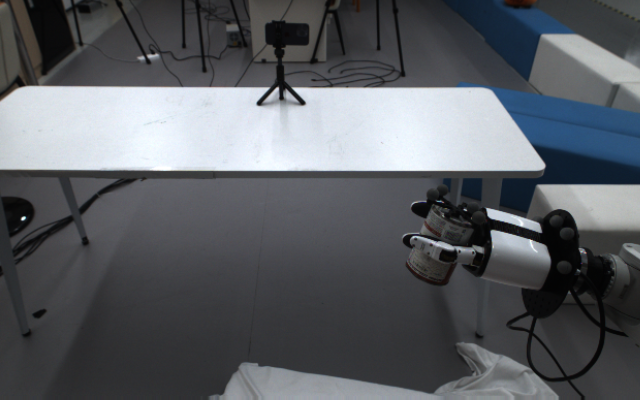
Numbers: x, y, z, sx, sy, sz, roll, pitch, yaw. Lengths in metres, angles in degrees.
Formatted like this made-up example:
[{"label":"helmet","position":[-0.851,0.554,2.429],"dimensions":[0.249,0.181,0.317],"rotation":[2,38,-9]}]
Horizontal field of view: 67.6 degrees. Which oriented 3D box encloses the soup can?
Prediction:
[{"label":"soup can","position":[0.175,0.062,0.697],"dimensions":[0.067,0.101,0.067],"rotation":[16,21,-7]}]
